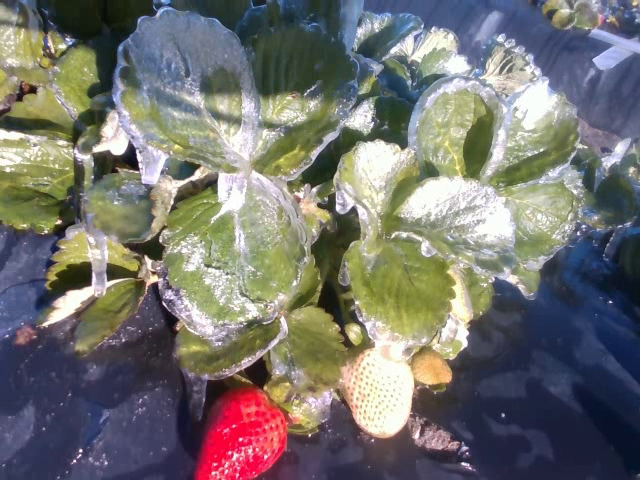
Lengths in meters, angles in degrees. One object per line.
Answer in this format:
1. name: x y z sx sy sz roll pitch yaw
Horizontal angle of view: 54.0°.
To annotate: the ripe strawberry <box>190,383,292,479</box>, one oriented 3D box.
1. ripe strawberry: -0.039 0.086 0.265 0.041 0.052 0.040 26 -32 21
